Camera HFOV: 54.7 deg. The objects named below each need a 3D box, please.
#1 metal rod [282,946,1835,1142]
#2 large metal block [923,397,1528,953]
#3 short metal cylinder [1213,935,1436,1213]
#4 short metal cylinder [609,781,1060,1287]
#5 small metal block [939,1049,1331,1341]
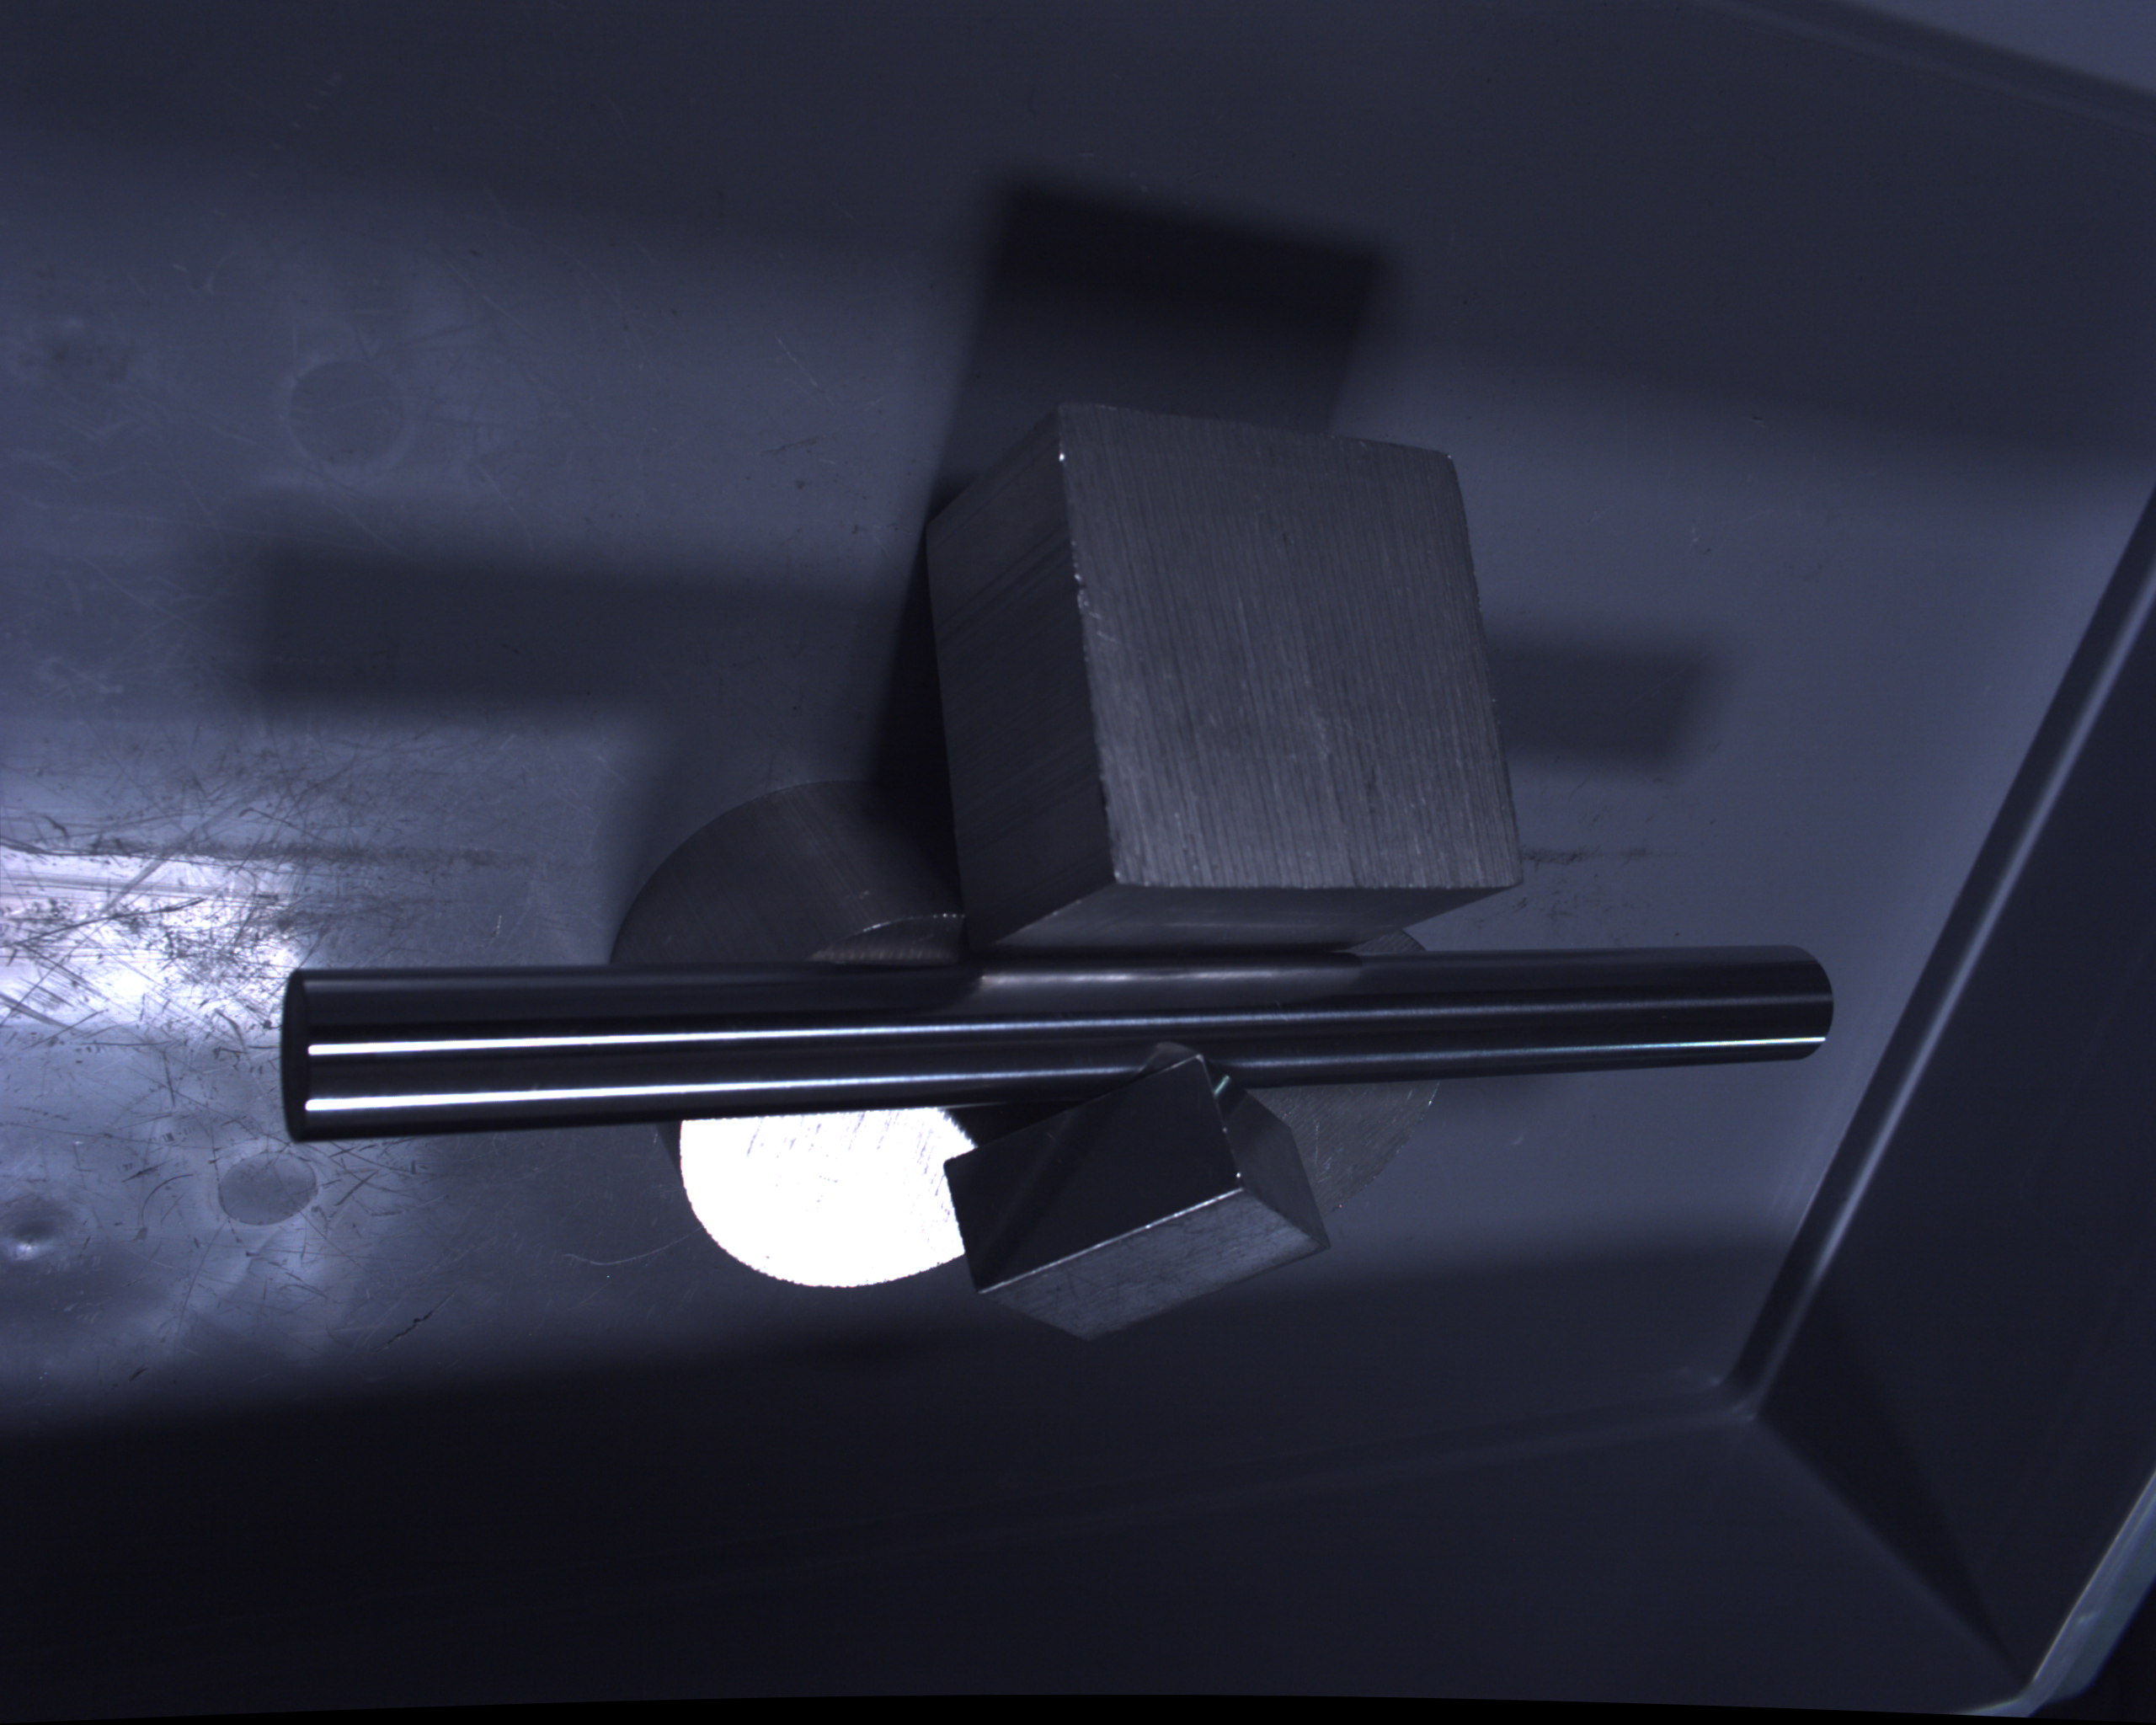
[{"bbox_3d":[0.020,0.029,0.372,0.303,0.025,0.025,1,118,-29],"label":"metal rod"},{"bbox_3d":[0.024,-0.028,0.361,0.081,0.050,0.080,1,75,-29],"label":"large metal block"},{"bbox_3d":[0.028,0.033,0.429,0.081,0.050,0.079,-14,125,-21],"label":"short metal cylinder"},{"bbox_3d":[-0.042,0.032,0.389,0.081,0.050,0.079,-14,125,-21],"label":"short metal cylinder"},{"bbox_3d":[0.011,0.061,0.373,0.050,0.025,0.050,-25,151,13],"label":"small metal block"}]
